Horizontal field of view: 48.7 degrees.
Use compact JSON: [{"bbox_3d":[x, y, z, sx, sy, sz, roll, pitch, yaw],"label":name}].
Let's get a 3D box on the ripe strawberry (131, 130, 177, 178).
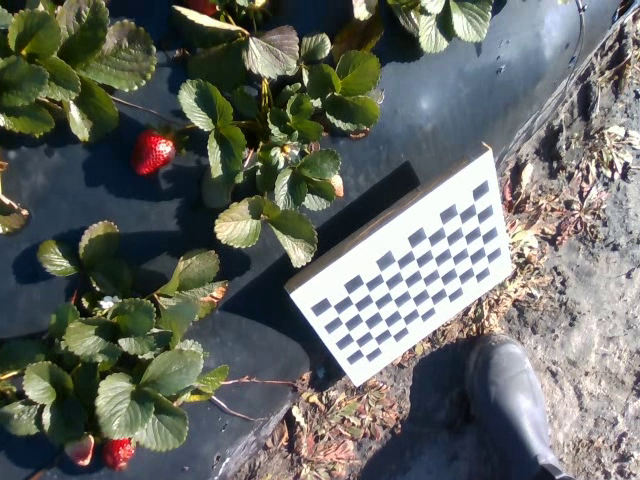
[{"bbox_3d":[-0.161,-0.084,0.667,0.044,0.055,0.042,26,-15,32],"label":"ripe strawberry"}]
